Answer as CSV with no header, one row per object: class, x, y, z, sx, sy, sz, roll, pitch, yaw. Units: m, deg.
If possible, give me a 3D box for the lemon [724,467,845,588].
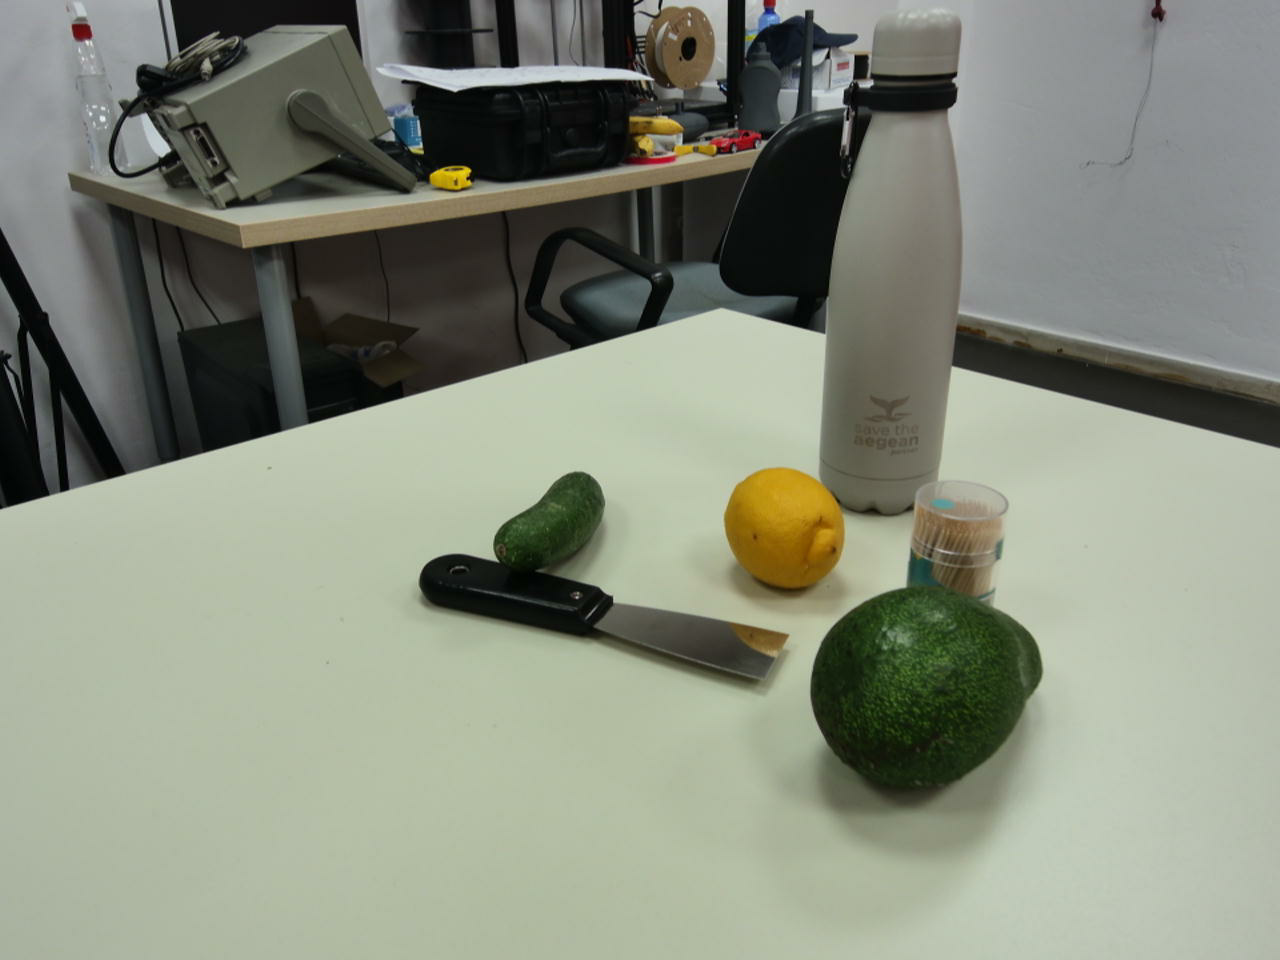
lemon,0.075,0.025,0.522,0.061,0.059,0.067,0,23,1
